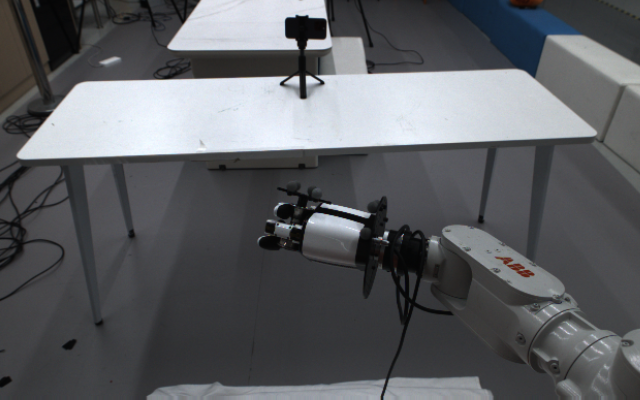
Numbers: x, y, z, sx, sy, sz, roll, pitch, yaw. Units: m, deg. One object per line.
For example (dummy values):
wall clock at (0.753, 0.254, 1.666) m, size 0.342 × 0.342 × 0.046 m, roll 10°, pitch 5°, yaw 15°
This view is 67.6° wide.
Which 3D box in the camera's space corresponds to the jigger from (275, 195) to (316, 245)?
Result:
jigger at (-0.038, 0.042, 0.767) m, size 0.043 × 0.071 × 0.043 m, roll 17°, pitch 2°, yaw -1°
